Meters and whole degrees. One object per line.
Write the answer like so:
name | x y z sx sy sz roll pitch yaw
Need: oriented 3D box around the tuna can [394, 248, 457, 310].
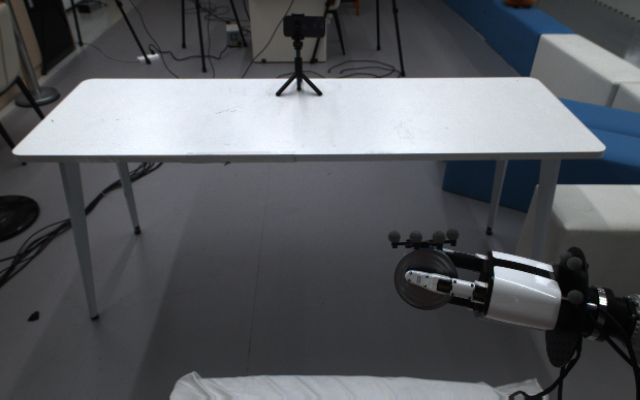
tuna can | 0.149 0.106 0.675 0.085 0.085 0.034 11 2 12
